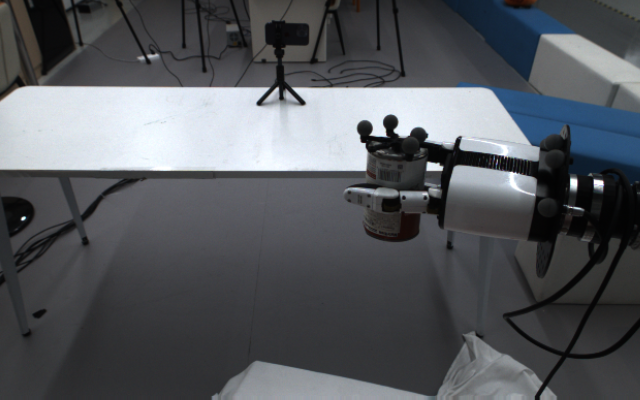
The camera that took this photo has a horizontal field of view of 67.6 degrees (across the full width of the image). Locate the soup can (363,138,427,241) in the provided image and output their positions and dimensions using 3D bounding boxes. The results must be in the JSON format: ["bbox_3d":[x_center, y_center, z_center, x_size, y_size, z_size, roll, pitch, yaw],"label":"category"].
[{"bbox_3d":[0.086,-0.013,0.552,0.067,0.101,0.067,1,26,0],"label":"soup can"}]
